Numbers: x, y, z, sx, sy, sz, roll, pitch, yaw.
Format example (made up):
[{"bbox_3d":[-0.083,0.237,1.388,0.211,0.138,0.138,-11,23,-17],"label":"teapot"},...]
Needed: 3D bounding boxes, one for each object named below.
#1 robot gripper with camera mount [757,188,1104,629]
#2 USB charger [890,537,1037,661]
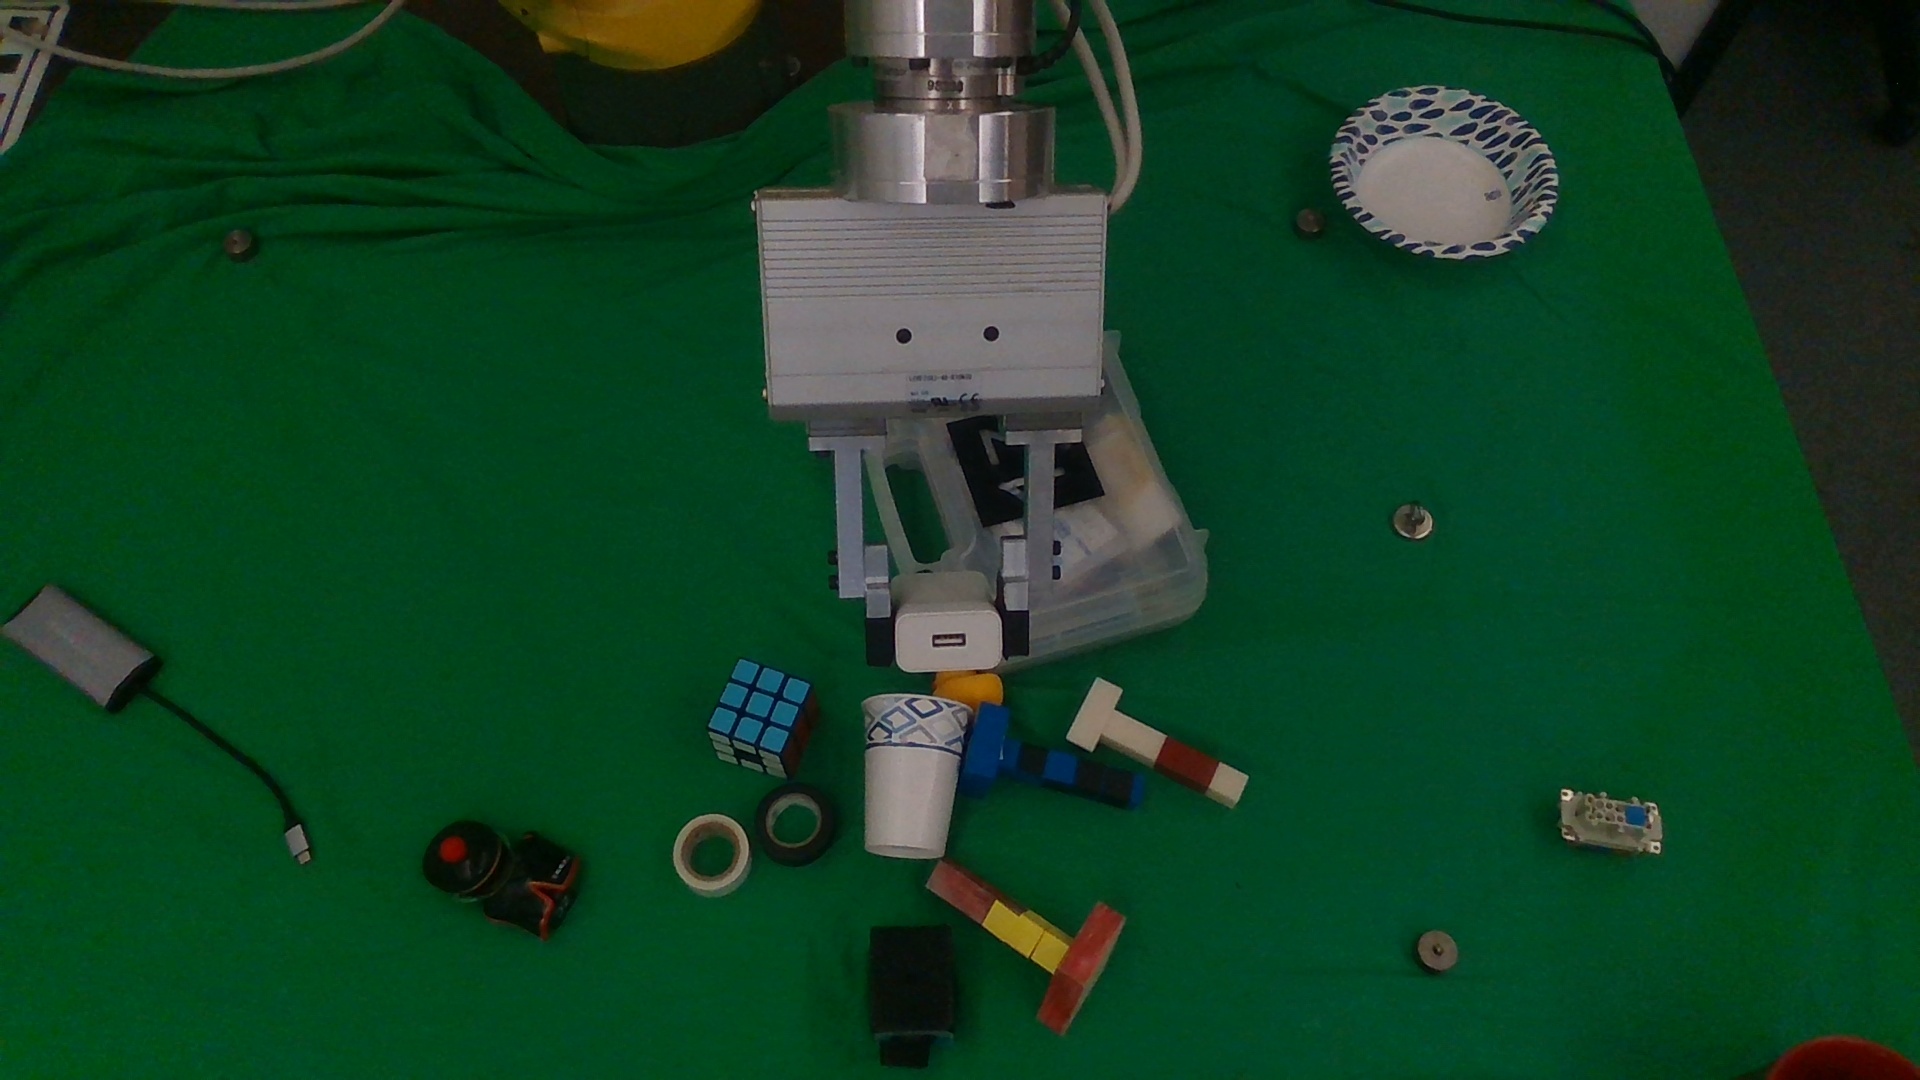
[{"bbox_3d":[-0.014,-0.069,0.590,0.119,0.158,0.193,-7,20,-3],"label":"robot gripper with camera mount"},{"bbox_3d":[-0.002,0.019,0.561,0.044,0.029,0.076,-16,26,-15],"label":"USB charger"}]
